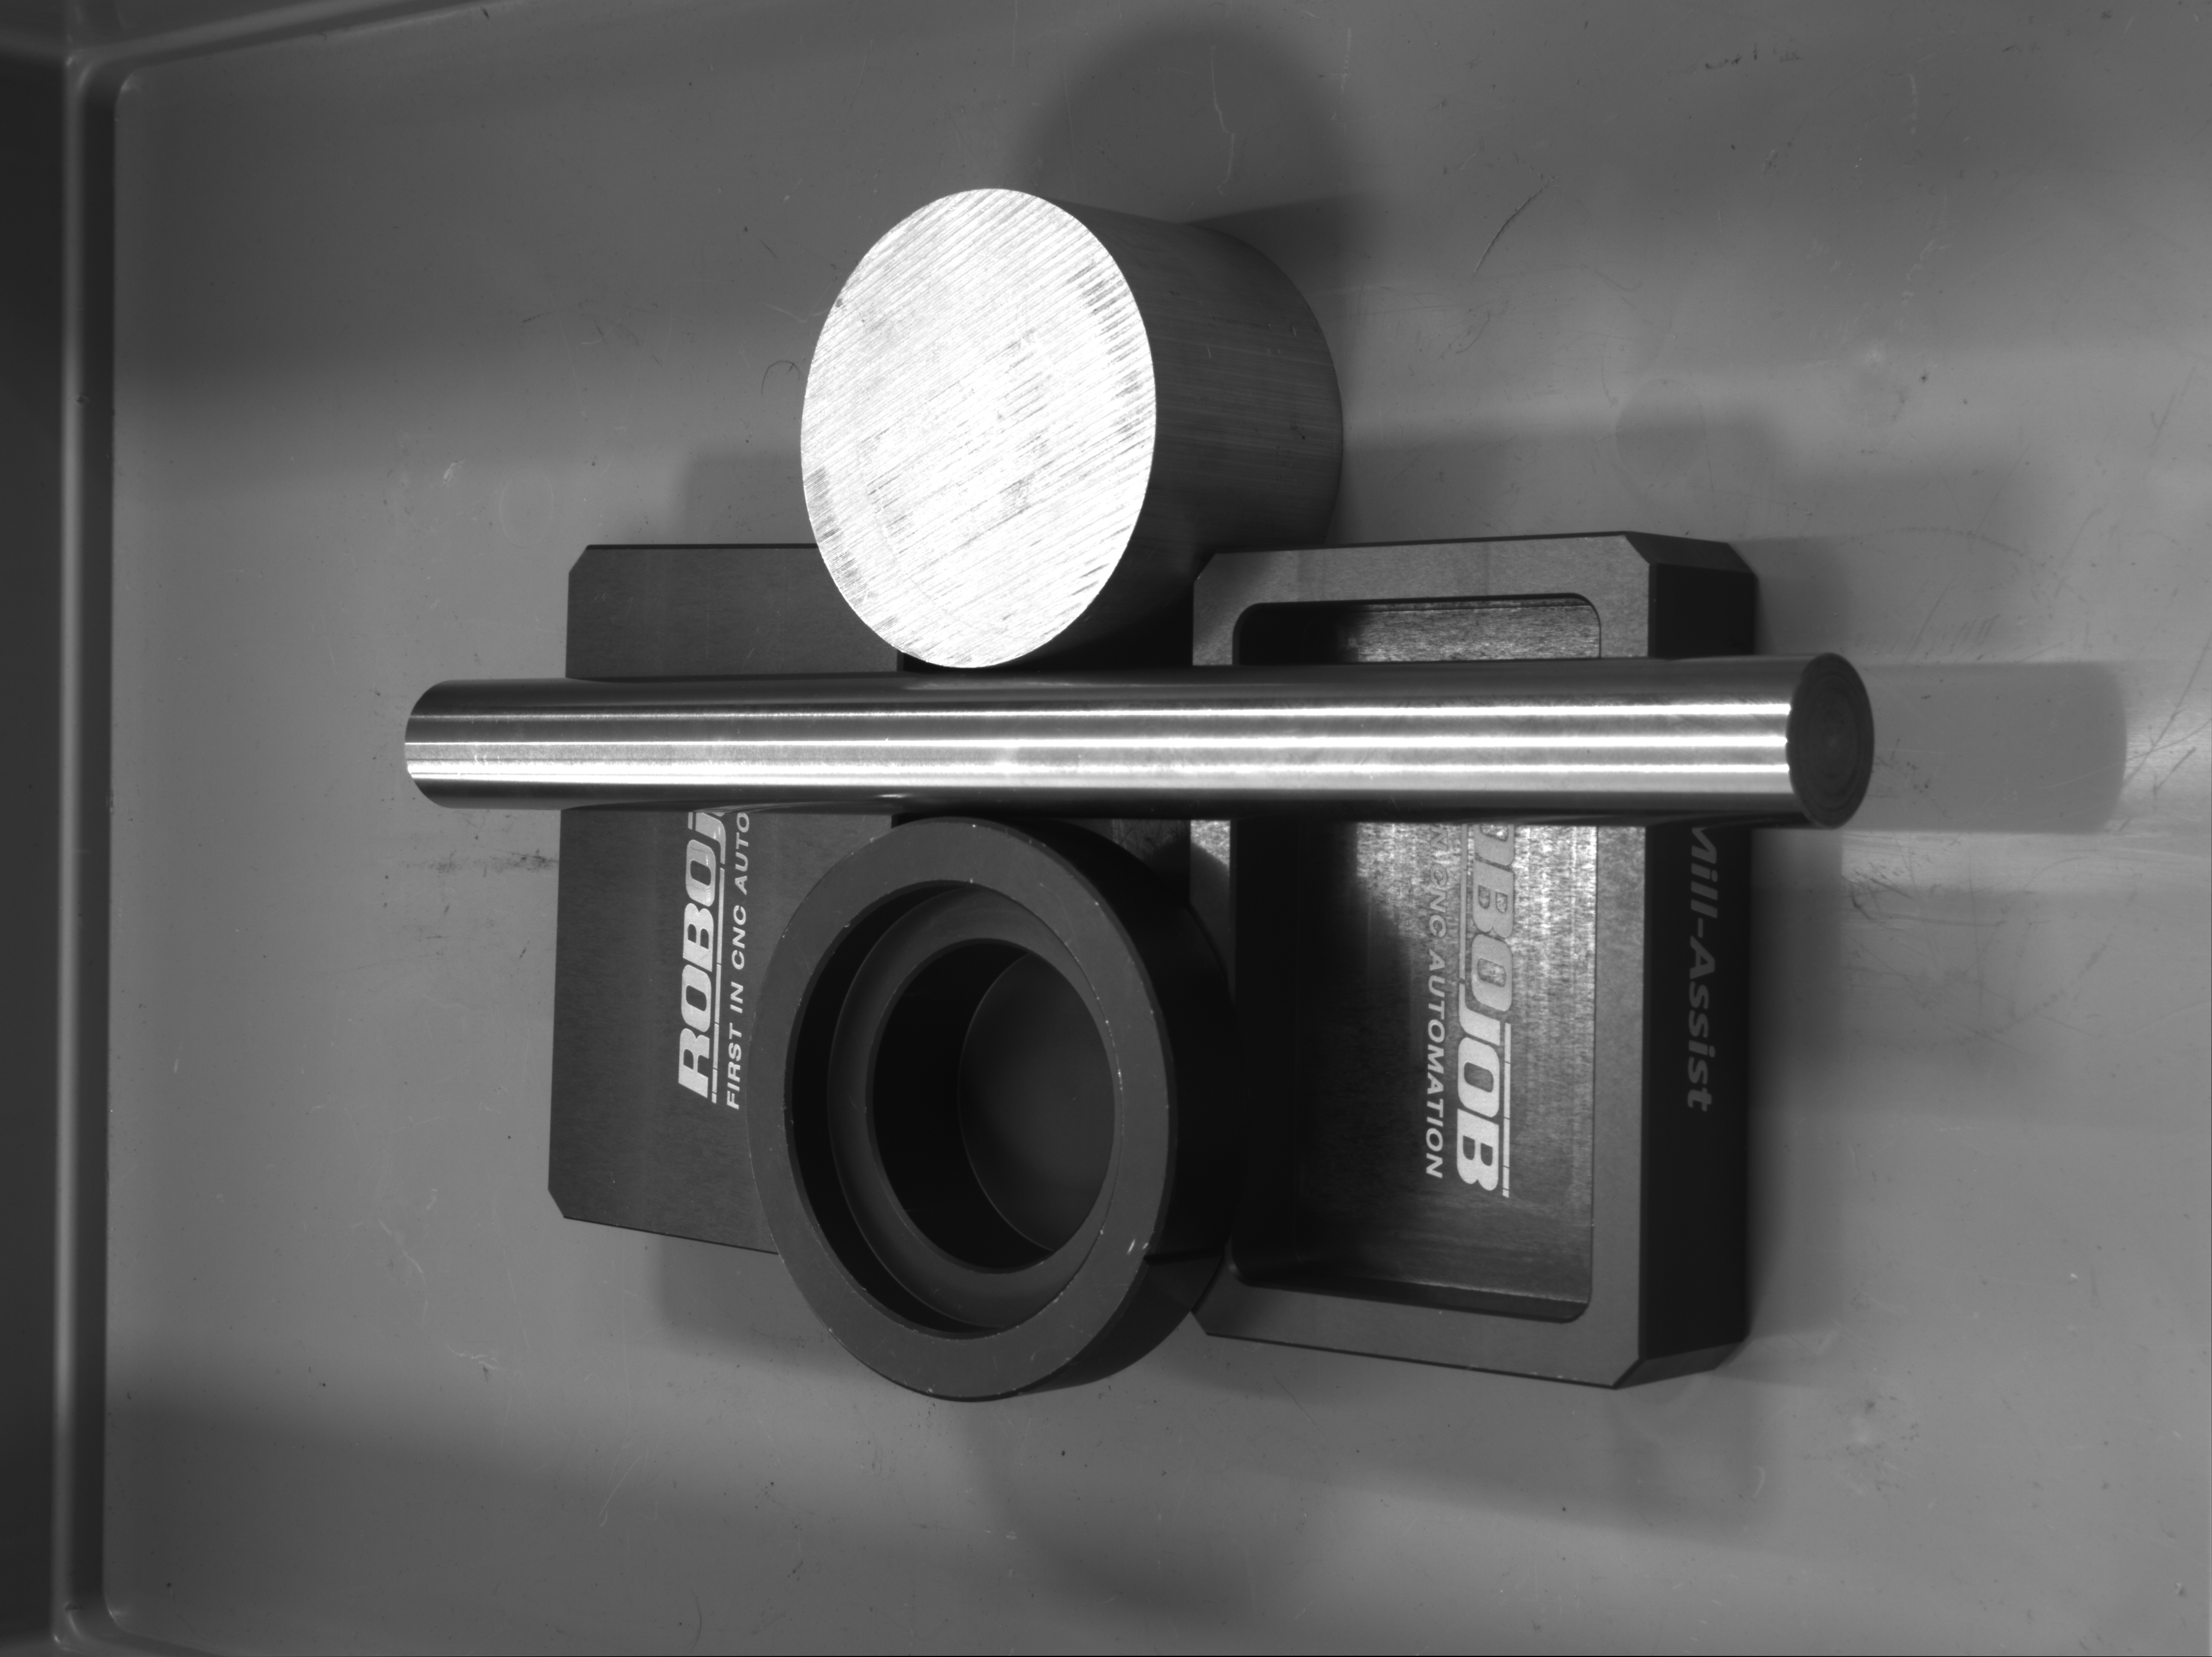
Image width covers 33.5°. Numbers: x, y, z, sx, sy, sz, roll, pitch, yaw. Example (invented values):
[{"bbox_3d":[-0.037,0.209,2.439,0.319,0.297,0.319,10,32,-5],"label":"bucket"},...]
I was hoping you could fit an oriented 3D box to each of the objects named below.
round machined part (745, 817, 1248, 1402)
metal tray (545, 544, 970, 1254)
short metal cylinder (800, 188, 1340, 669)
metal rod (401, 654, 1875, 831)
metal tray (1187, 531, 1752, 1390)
[{"bbox_3d":[-0.013,0.047,0.632,0.098,0.042,0.098,0,90,40],"label":"round machined part"},{"bbox_3d":[-0.063,0.012,0.693,0.090,0.030,0.130,3,92,40],"label":"metal tray"},{"bbox_3d":[-0.007,-0.067,0.633,0.080,0.050,0.080,0,90,40],"label":"short metal cylinder"},{"bbox_3d":[-0.012,-0.014,0.614,0.299,0.025,0.025,1,90,40],"label":"metal rod"},{"bbox_3d":[0.057,0.020,0.592,0.090,0.030,0.130,1,91,40],"label":"metal tray"}]
